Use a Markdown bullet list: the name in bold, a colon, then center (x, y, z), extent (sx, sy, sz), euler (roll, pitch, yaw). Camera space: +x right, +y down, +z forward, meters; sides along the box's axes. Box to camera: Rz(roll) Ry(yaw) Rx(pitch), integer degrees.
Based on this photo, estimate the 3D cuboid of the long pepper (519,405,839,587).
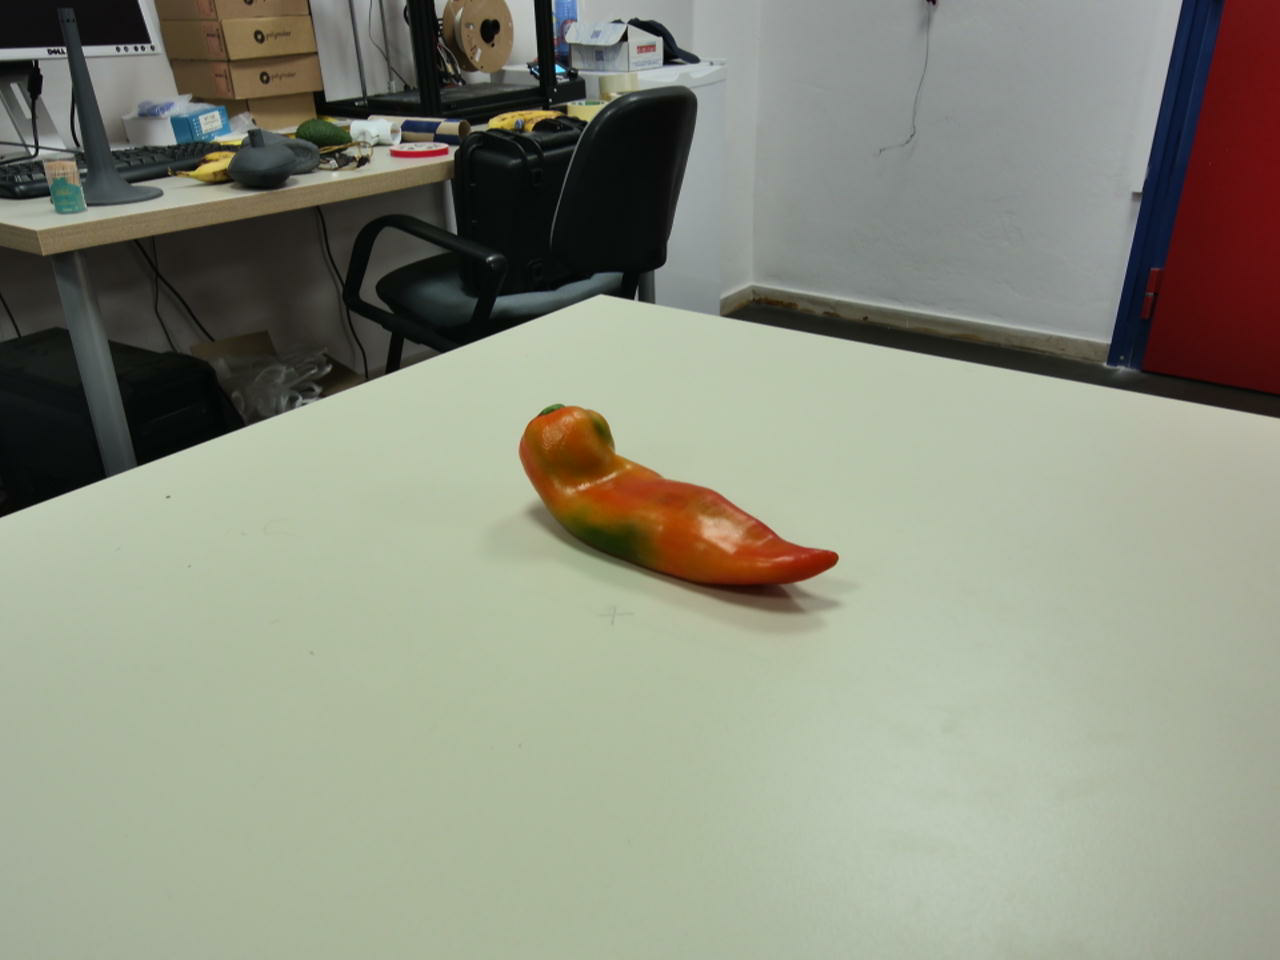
- **long pepper**: center (0.013, 0.008, 0.528), extent (0.199, 0.065, 0.066), euler (20, 31, 38)
